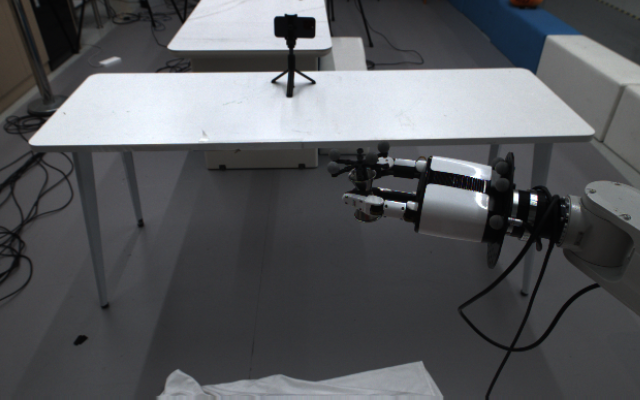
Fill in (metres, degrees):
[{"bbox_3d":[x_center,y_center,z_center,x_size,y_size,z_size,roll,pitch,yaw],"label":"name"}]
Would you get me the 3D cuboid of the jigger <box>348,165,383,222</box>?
[{"bbox_3d":[0.066,-0.008,0.695,0.043,0.071,0.043,-10,31,6],"label":"jigger"}]
